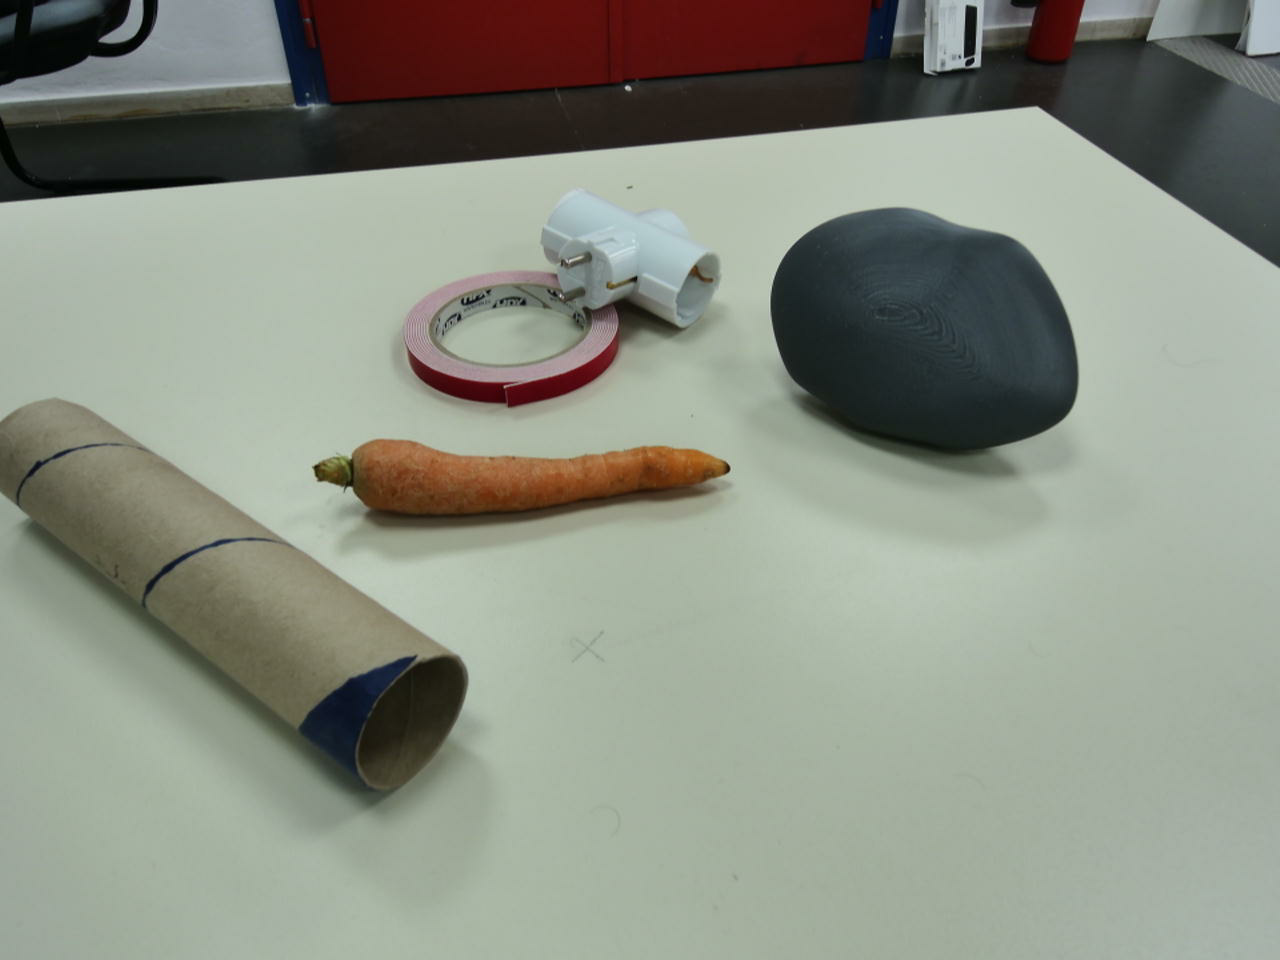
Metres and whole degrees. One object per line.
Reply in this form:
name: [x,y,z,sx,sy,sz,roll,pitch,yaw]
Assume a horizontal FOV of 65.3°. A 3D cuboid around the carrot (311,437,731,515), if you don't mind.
carrot: [-0.046,-0.004,0.417,0.173,0.032,0.030,-3,38,-4]
